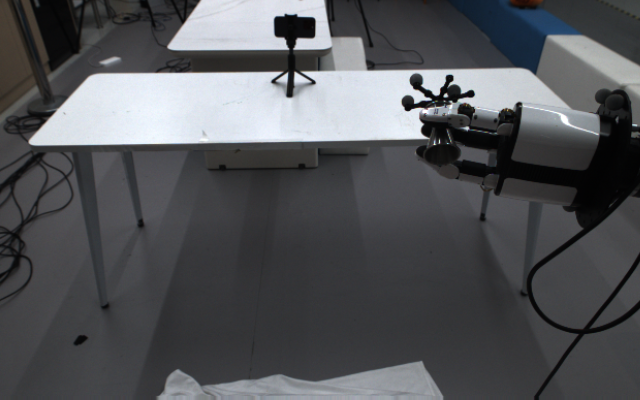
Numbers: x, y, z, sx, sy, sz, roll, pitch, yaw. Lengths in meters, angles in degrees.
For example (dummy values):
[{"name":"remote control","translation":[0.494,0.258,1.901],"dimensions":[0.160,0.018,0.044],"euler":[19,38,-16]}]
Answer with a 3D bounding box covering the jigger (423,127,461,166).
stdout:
[{"name":"jigger","translation":[0.147,-0.085,0.594],"dimensions":[0.043,0.043,0.071],"euler":[4,61,2]}]
